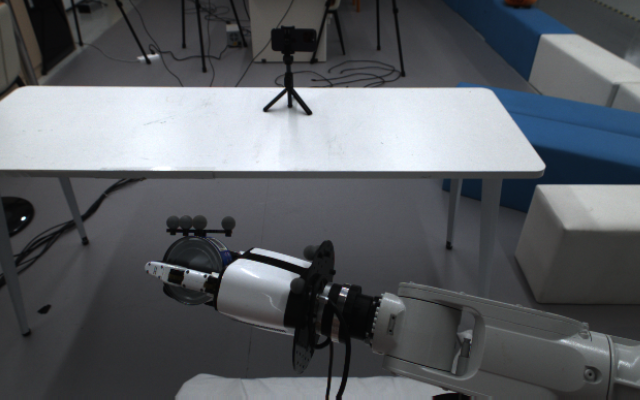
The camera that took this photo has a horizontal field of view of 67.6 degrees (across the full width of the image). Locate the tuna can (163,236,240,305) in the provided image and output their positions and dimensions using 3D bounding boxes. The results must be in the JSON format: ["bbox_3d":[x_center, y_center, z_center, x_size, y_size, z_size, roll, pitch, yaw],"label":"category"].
[{"bbox_3d":[-0.151,0.088,0.609,0.085,0.085,0.034,15,1,18],"label":"tuna can"}]
